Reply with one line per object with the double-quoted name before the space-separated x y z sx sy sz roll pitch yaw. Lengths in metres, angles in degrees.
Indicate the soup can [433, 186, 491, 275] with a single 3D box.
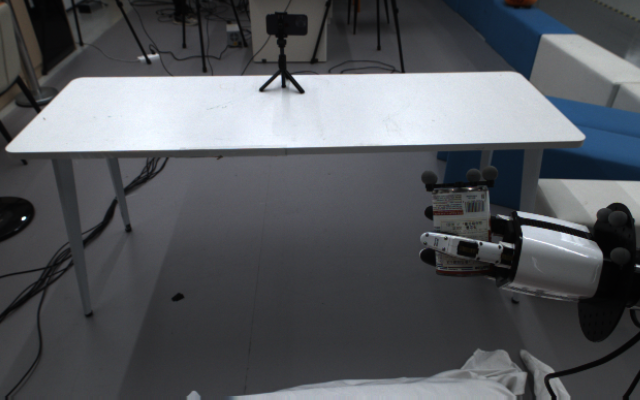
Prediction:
"soup can" 0.173 0.038 0.581 0.067 0.101 0.067 -3 -1 0
